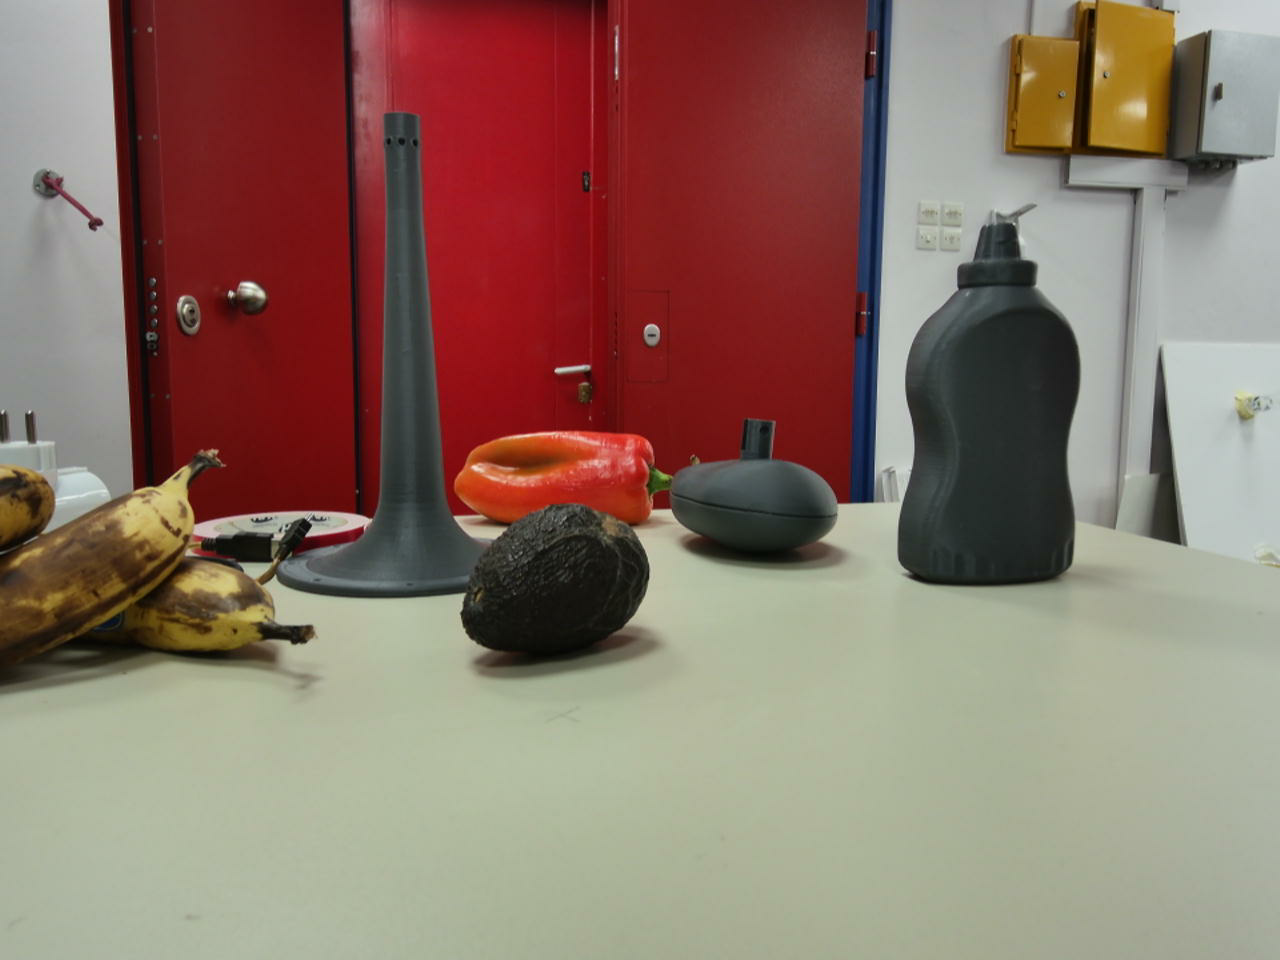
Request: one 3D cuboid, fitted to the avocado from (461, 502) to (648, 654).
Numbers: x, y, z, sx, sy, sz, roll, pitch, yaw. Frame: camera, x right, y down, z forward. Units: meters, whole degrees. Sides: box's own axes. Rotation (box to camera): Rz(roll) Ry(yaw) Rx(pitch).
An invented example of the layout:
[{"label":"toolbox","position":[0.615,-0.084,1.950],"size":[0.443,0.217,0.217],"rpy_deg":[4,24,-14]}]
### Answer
[{"label":"avocado","position":[-0.037,0.041,0.425],"size":[0.092,0.062,0.062],"rpy_deg":[-4,6,-37]}]
